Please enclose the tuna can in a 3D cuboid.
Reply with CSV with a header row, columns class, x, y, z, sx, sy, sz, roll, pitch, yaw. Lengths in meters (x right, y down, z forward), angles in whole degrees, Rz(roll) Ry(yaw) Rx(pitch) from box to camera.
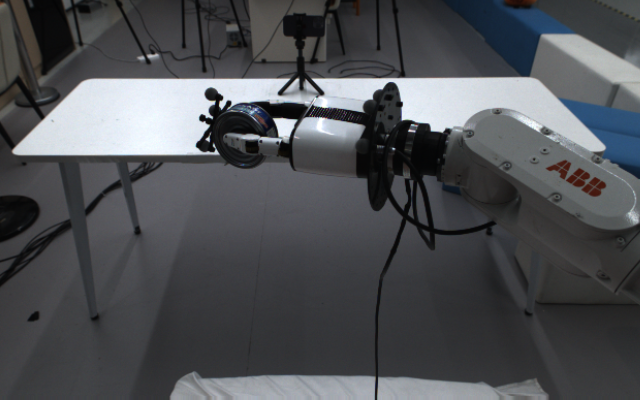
class,x,y,z,sx,sy,sz,roll,pitch,yaw
tuna can,-0.099,-0.083,0.655,0.085,0.085,0.034,12,31,14
